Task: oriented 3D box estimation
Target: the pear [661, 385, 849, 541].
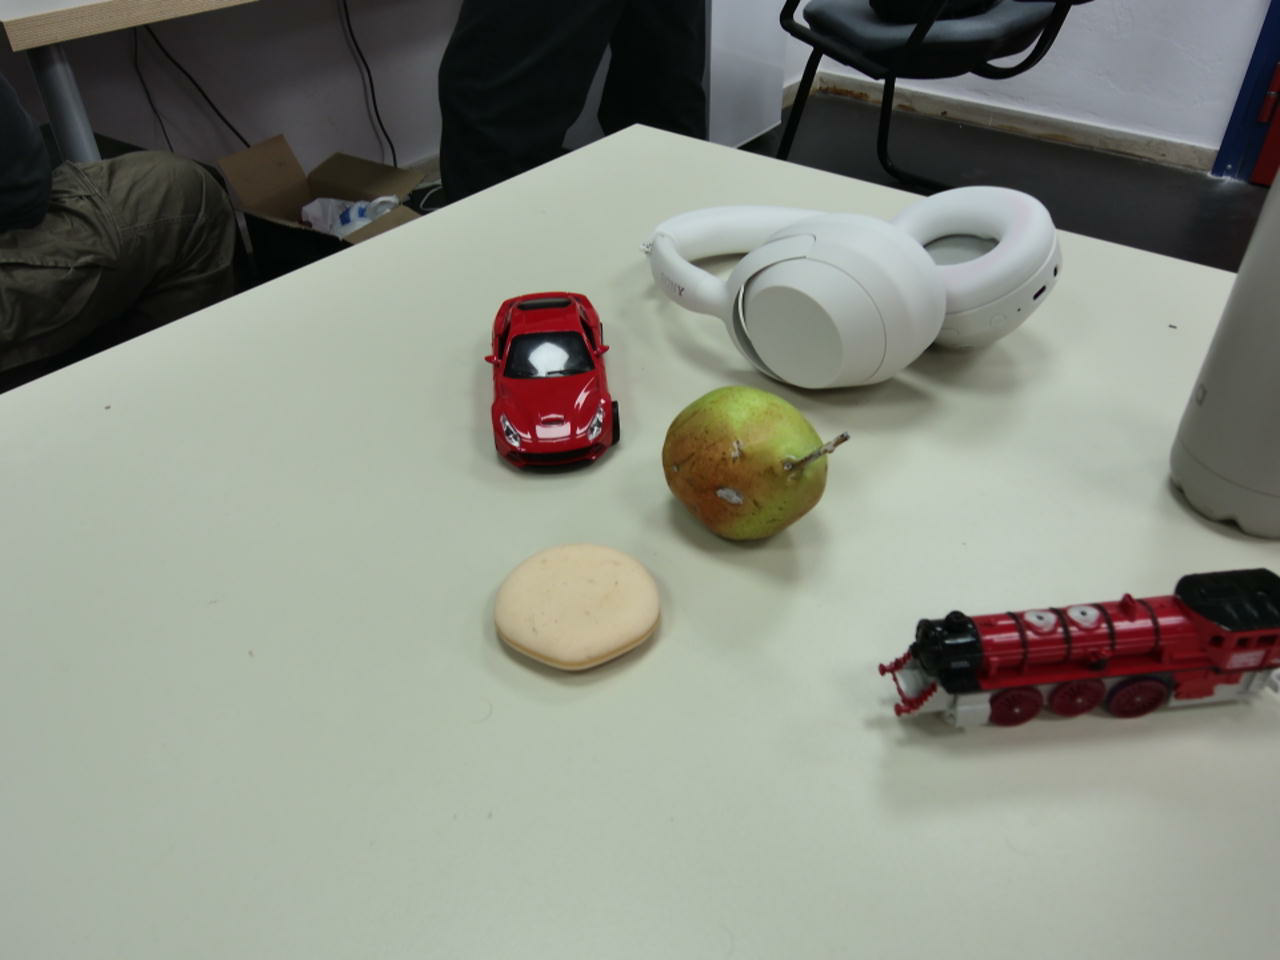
[{"bbox_3d":[0.043,-0.009,0.416,0.068,0.069,0.070,1,36,1],"label":"pear"}]
